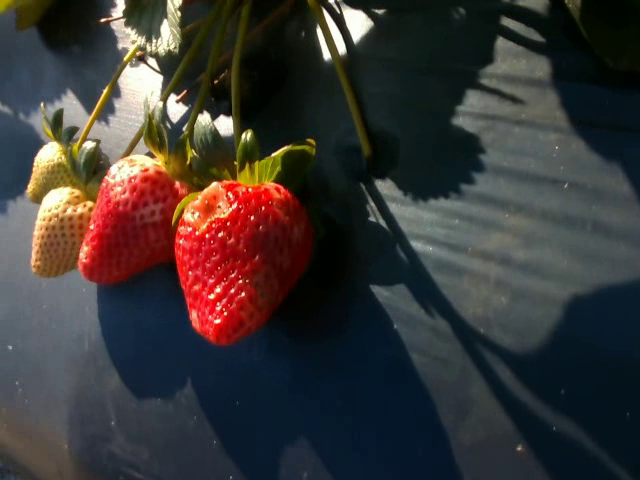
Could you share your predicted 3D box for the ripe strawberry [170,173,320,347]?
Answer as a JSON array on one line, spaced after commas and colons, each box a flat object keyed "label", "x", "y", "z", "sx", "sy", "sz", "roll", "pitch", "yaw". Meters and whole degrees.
[{"label": "ripe strawberry", "x": -0.026, "y": 0.009, "z": 0.194, "sx": 0.051, "sy": 0.067, "sz": 0.056, "roll": 27, "pitch": -45, "yaw": -26}]

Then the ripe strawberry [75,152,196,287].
[{"label": "ripe strawberry", "x": -0.069, "y": -0.007, "z": 0.222, "sx": 0.050, "sy": 0.061, "sz": 0.044, "roll": 39, "pitch": -7, "yaw": 9}]
